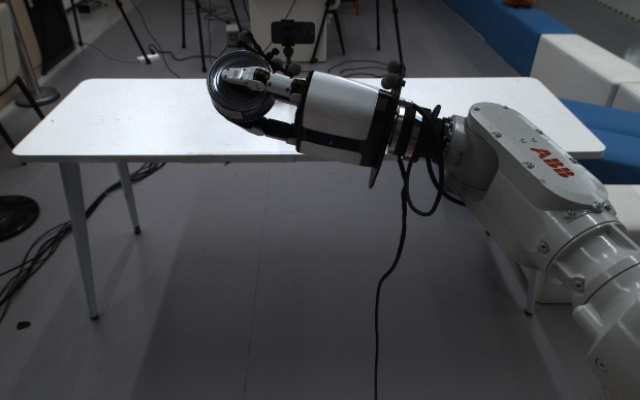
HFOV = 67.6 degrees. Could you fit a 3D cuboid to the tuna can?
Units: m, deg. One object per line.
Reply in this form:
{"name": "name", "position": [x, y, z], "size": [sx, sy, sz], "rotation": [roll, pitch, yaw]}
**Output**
{"name": "tuna can", "position": [-0.094, -0.138, 0.610], "size": [0.085, 0.034, 0.085], "rotation": [0, 74, -1]}
